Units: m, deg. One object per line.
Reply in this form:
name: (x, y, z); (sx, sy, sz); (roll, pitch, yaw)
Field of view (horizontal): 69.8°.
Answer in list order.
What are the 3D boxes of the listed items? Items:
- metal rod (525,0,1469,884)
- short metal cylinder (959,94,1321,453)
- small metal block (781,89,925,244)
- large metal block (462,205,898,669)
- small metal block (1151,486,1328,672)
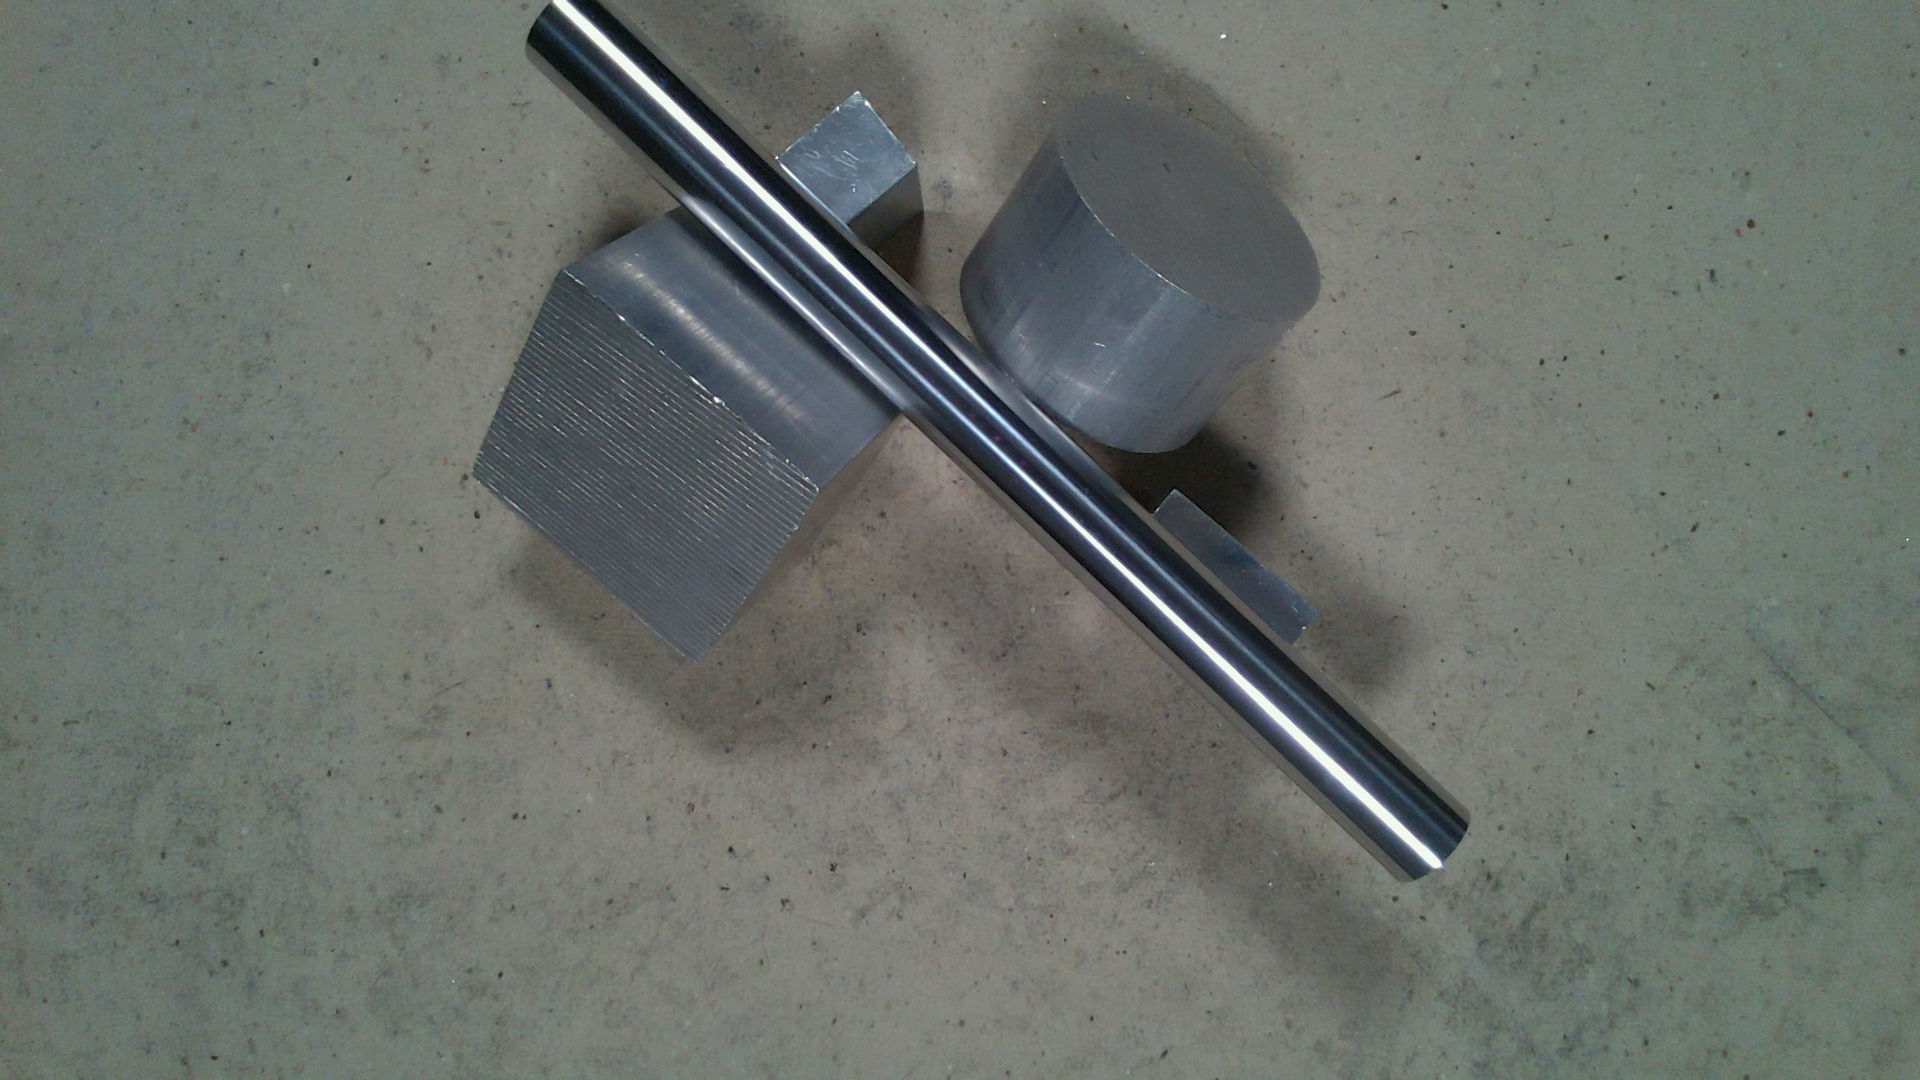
metal rod: (0.009, -0.026, 0.345); (0.300, 0.025, 0.025); (43, 90, 0)
short metal cylinder: (0.047, -0.070, 0.362); (0.080, 0.080, 0.050); (39, 132, 0)
small metal block: (-0.038, -0.092, 0.383); (0.050, 0.050, 0.025); (-39, 90, 0)
large metal block: (-0.074, -0.027, 0.365); (0.080, 0.050, 0.080); (40, 131, -1)
small metal block: (0.068, 0.012, 0.380); (0.050, 0.050, 0.025); (41, 90, 0)
